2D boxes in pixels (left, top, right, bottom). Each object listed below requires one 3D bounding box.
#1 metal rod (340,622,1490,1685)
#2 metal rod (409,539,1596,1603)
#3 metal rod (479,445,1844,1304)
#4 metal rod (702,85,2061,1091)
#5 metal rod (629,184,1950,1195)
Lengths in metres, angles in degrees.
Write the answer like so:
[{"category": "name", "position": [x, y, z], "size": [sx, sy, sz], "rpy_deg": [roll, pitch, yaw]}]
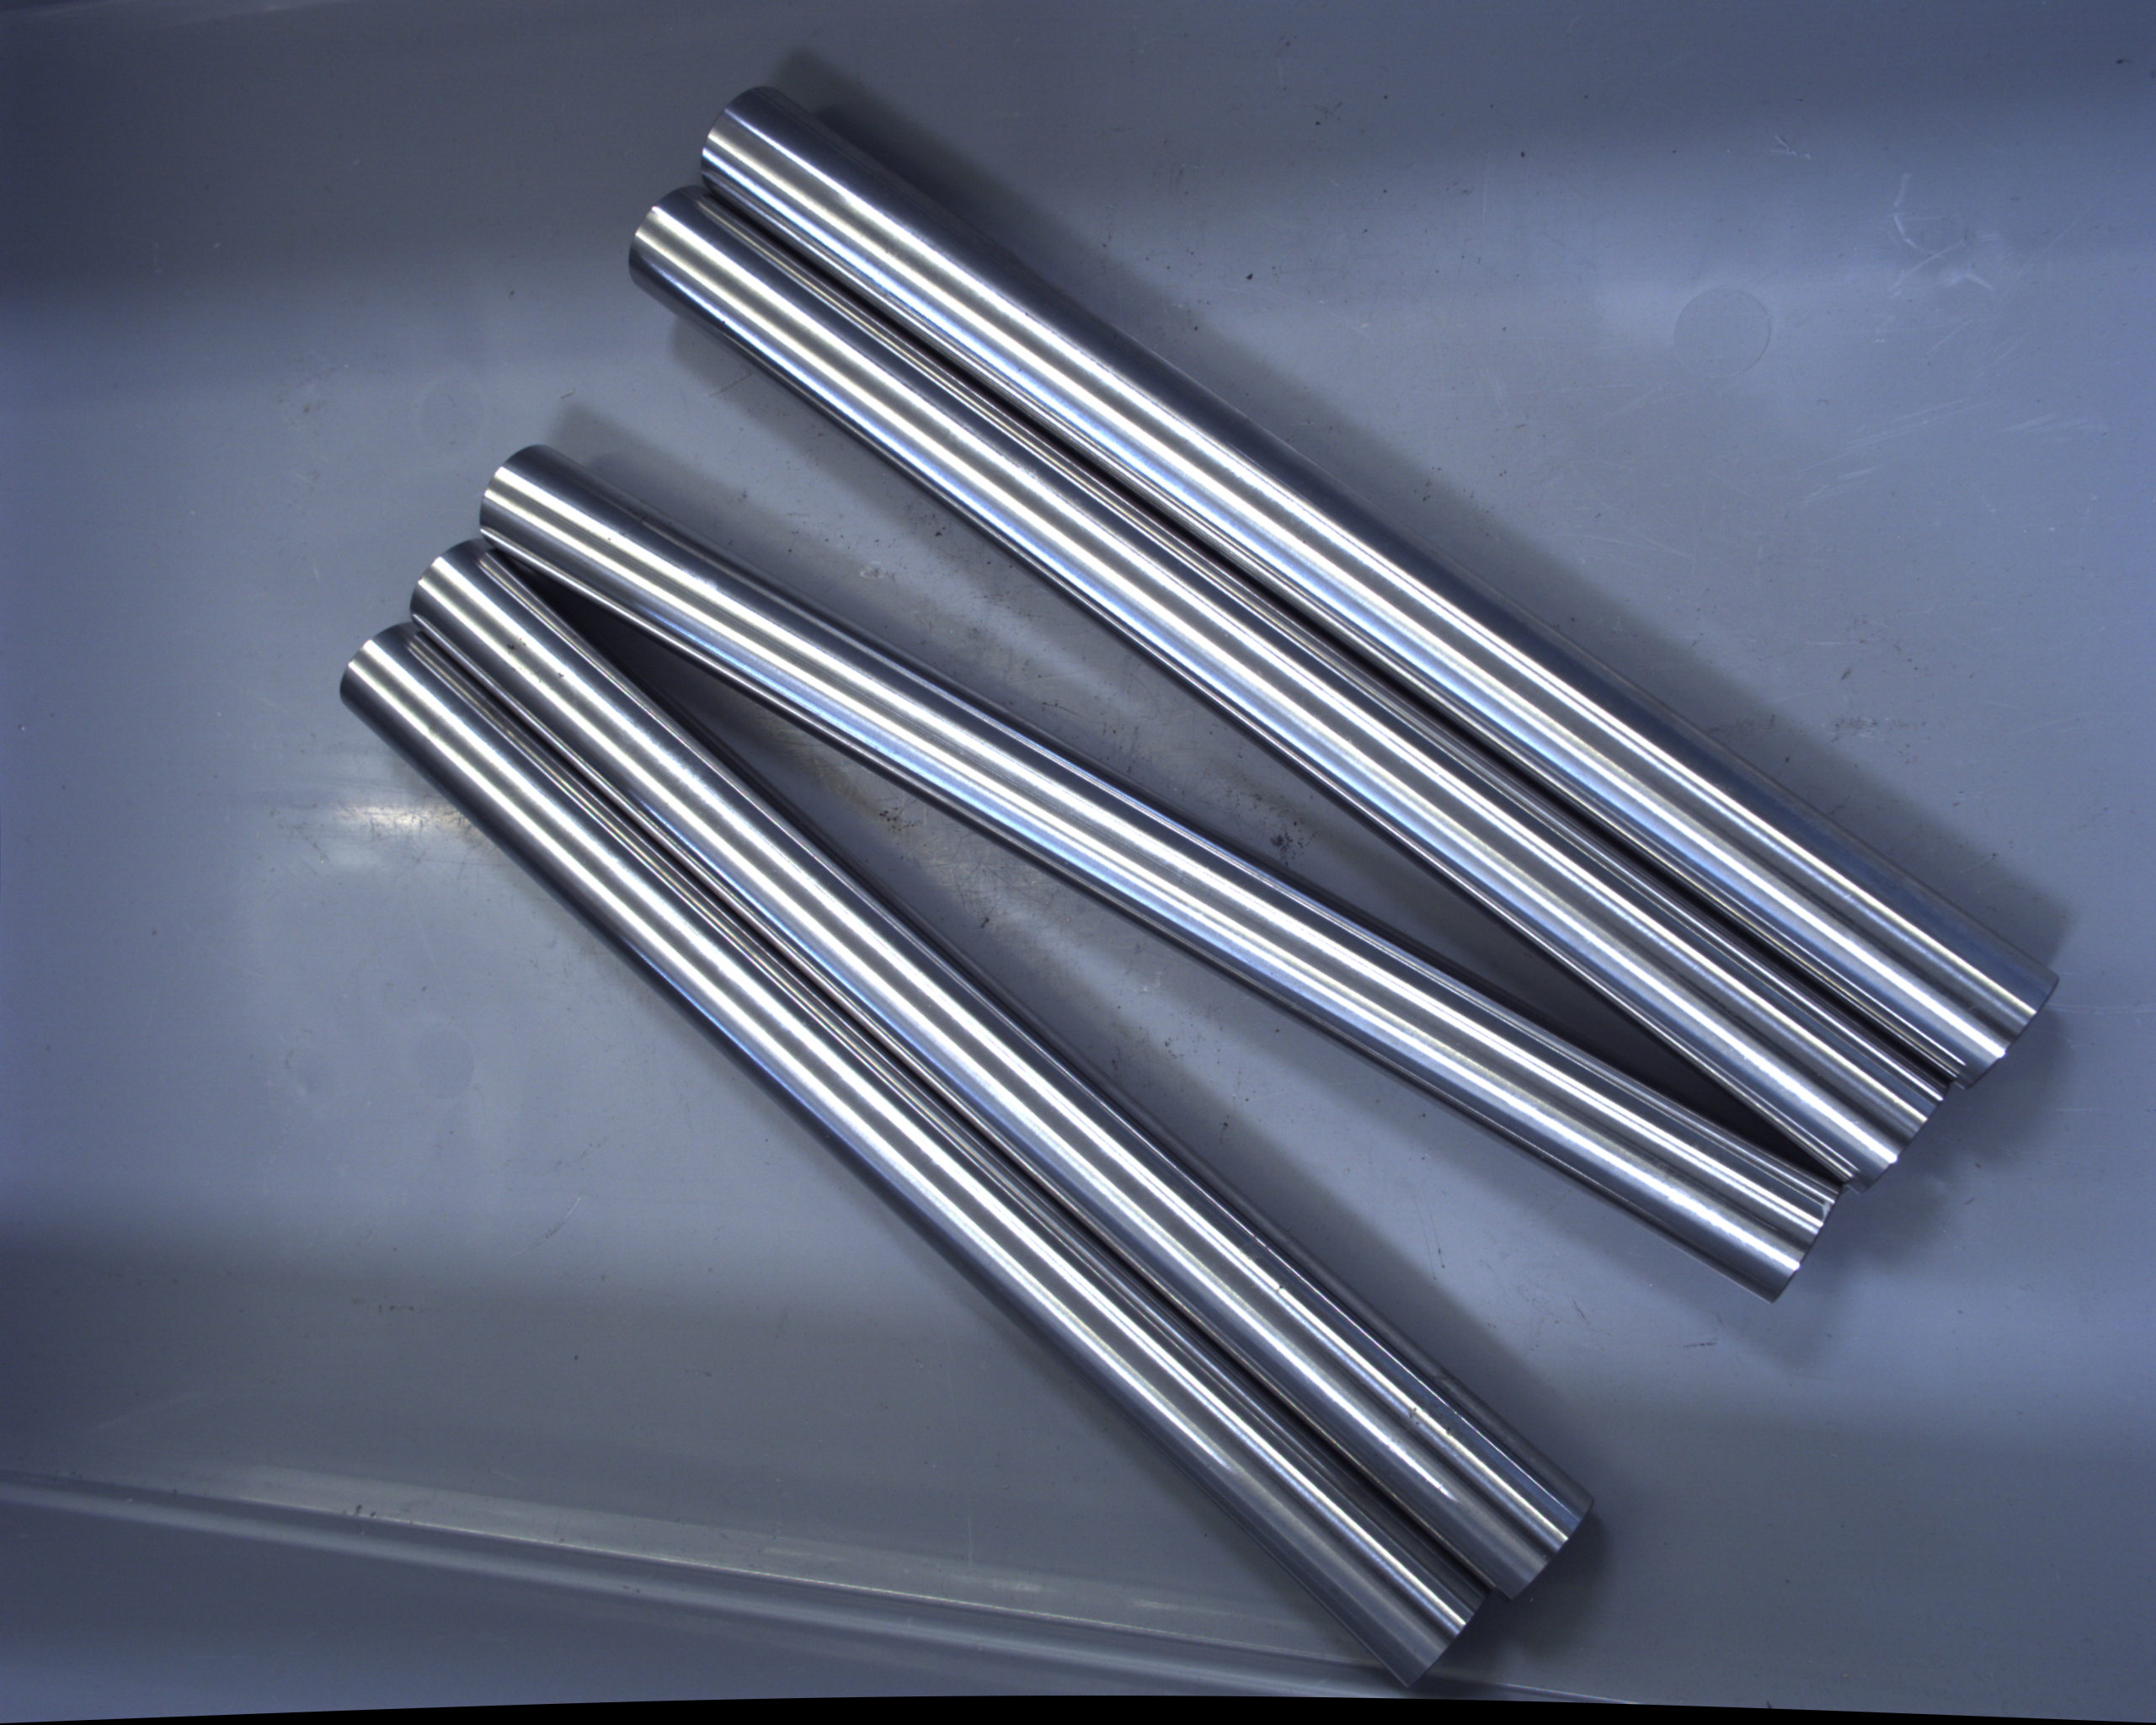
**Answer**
[{"category": "metal rod", "position": [-0.042, 0.049, 0.424], "size": [0.300, 0.025, 0.025], "rpy_deg": [40, 103, 15]}, {"category": "metal rod", "position": [-0.025, 0.032, 0.418], "size": [0.300, 0.025, 0.025], "rpy_deg": [40, 103, 15]}, {"category": "metal rod", "position": [0.003, -0.006, 0.408], "size": [0.300, 0.025, 0.025], "rpy_deg": [30, 100, 17]}, {"category": "metal rod", "position": [0.045, -0.061, 0.393], "size": [0.300, 0.025, 0.025], "rpy_deg": [38, 102, 16]}, {"category": "metal rod", "position": [0.028, -0.042, 0.399], "size": [0.300, 0.025, 0.025], "rpy_deg": [38, 102, 16]}]
